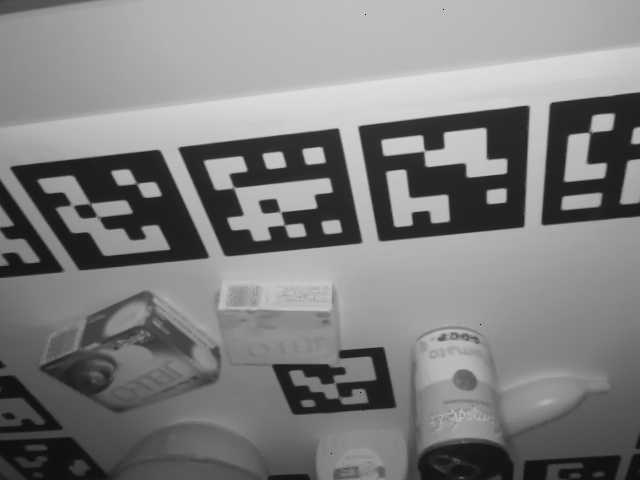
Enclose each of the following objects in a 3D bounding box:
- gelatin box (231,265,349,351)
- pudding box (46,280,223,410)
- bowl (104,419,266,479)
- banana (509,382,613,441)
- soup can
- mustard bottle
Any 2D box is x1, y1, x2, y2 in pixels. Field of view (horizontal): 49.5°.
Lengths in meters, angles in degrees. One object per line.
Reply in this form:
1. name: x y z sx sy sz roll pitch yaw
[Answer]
1. gelatin box: -0.022 0.055 0.550 0.089 0.030 0.072 0 130 1
2. pudding box: -0.152 0.090 0.580 0.112 0.039 0.090 -24 123 22
3. bowl: -0.130 0.229 0.704 0.162 0.055 0.160 -1 134 0
4. banana: 0.180 0.181 0.659 0.075 0.039 0.194 20 132 -30
5. soup can: 0.120 0.133 0.558 0.068 0.103 0.067 2 135 3
6. mustard bottle: 0.038 0.284 0.638 0.096 0.193 0.058 -4 136 7
